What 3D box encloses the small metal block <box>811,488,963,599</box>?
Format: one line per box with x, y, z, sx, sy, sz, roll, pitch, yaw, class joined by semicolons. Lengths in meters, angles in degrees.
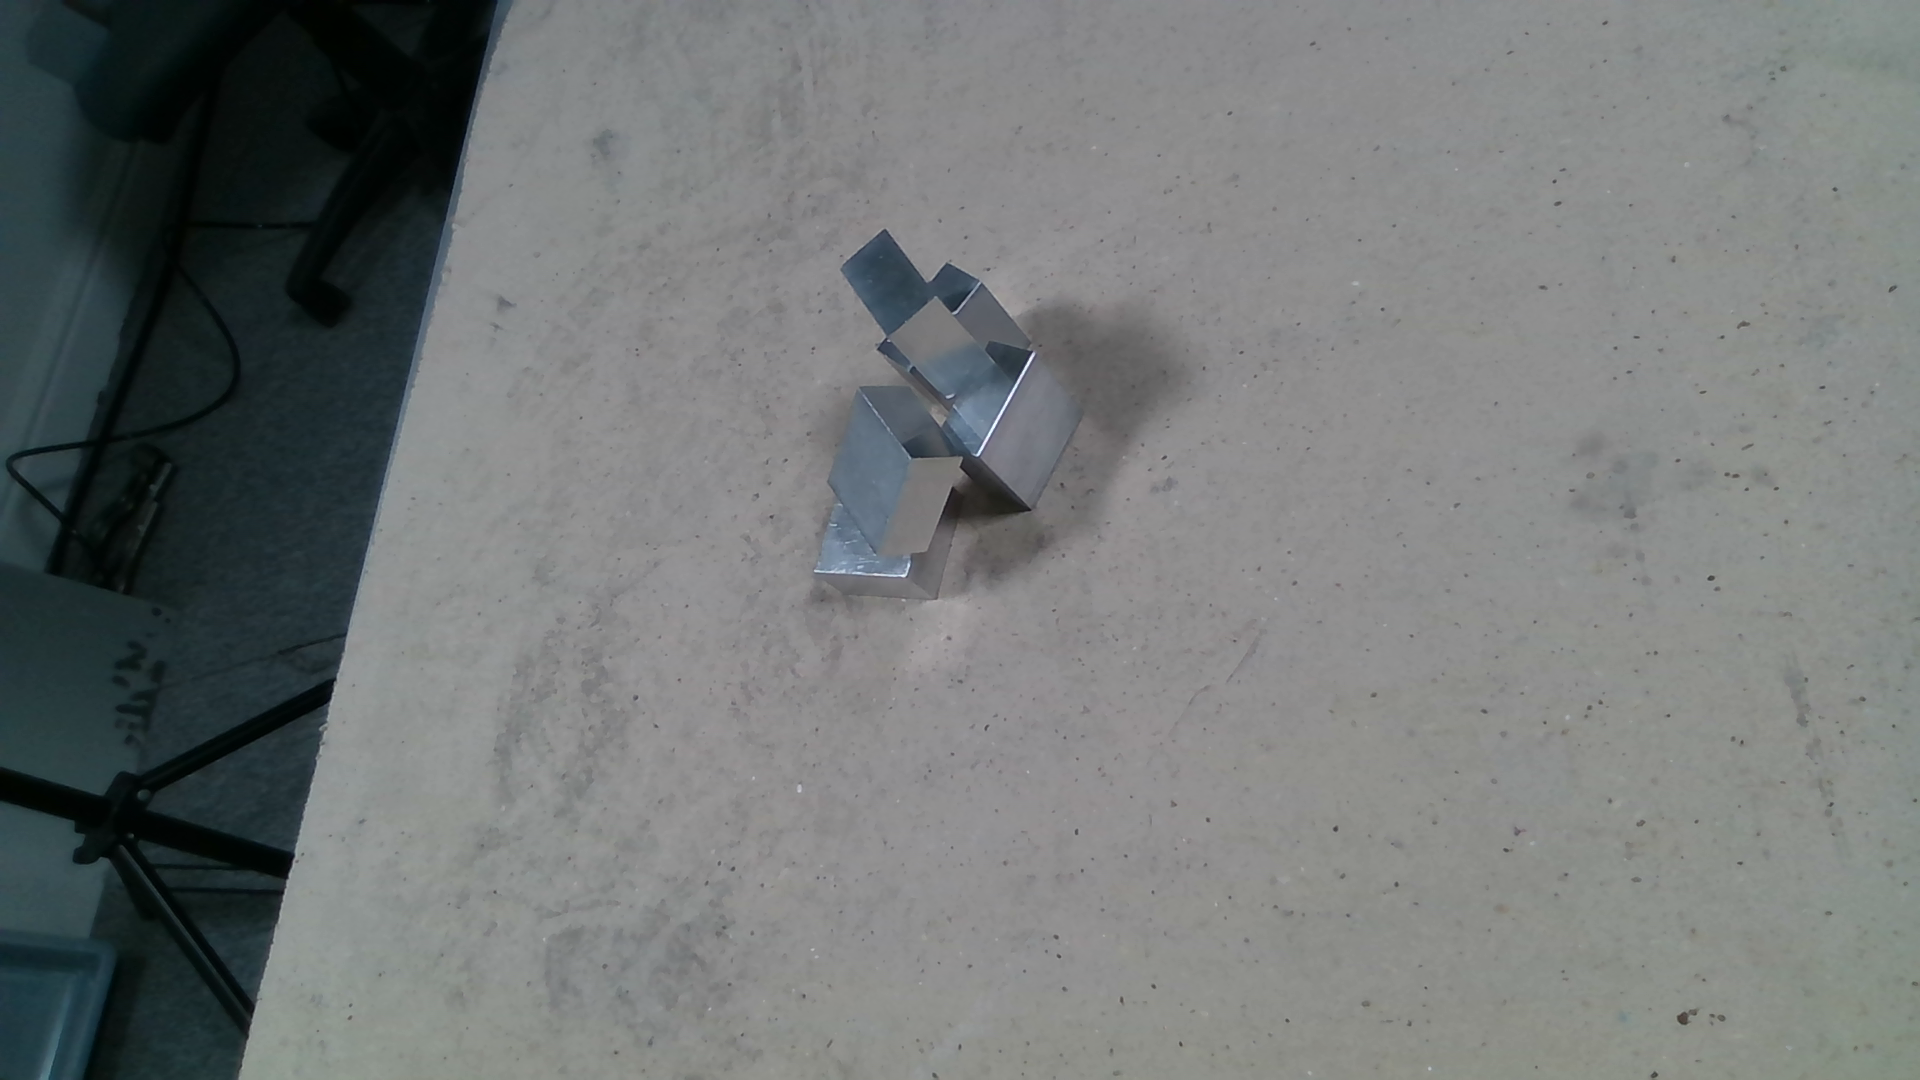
-0.032;-0.003;0.607;0.050;0.025;0.050;2;67;32;small metal block

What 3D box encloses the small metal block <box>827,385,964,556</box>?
-0.028;-0.029;0.571;0.050;0.025;0.050;54;136;38;small metal block

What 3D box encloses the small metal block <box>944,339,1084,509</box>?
0.021;-0.048;0.583;0.025;0.050;0.050;21;77;37;small metal block

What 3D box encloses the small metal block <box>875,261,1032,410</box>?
-0.002;-0.088;0.618;0.050;0.050;0.025;-51;51;-2;small metal block

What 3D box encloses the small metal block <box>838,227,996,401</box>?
-0.018;-0.092;0.565;0.025;0.050;0.050;-39;52;8;small metal block
